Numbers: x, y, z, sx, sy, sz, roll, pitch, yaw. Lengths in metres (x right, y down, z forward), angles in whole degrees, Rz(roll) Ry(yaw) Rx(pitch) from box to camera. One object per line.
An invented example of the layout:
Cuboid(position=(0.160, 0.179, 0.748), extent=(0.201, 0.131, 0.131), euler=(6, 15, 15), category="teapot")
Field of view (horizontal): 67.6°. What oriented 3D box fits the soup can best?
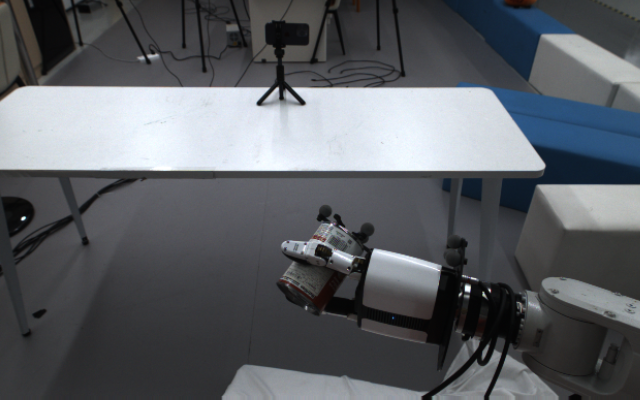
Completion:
Cuboid(position=(0.002, 0.085, 0.616), extent=(0.067, 0.067, 0.101), euler=(25, 67, 30), category="soup can")
